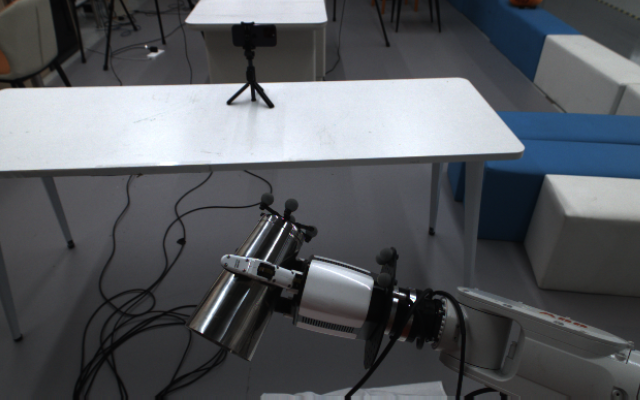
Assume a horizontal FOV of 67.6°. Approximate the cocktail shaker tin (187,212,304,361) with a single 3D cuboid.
[{"bbox_3d":[-0.086,0.103,0.618,0.093,0.093,0.170,18,66,22],"label":"cocktail shaker tin"}]
